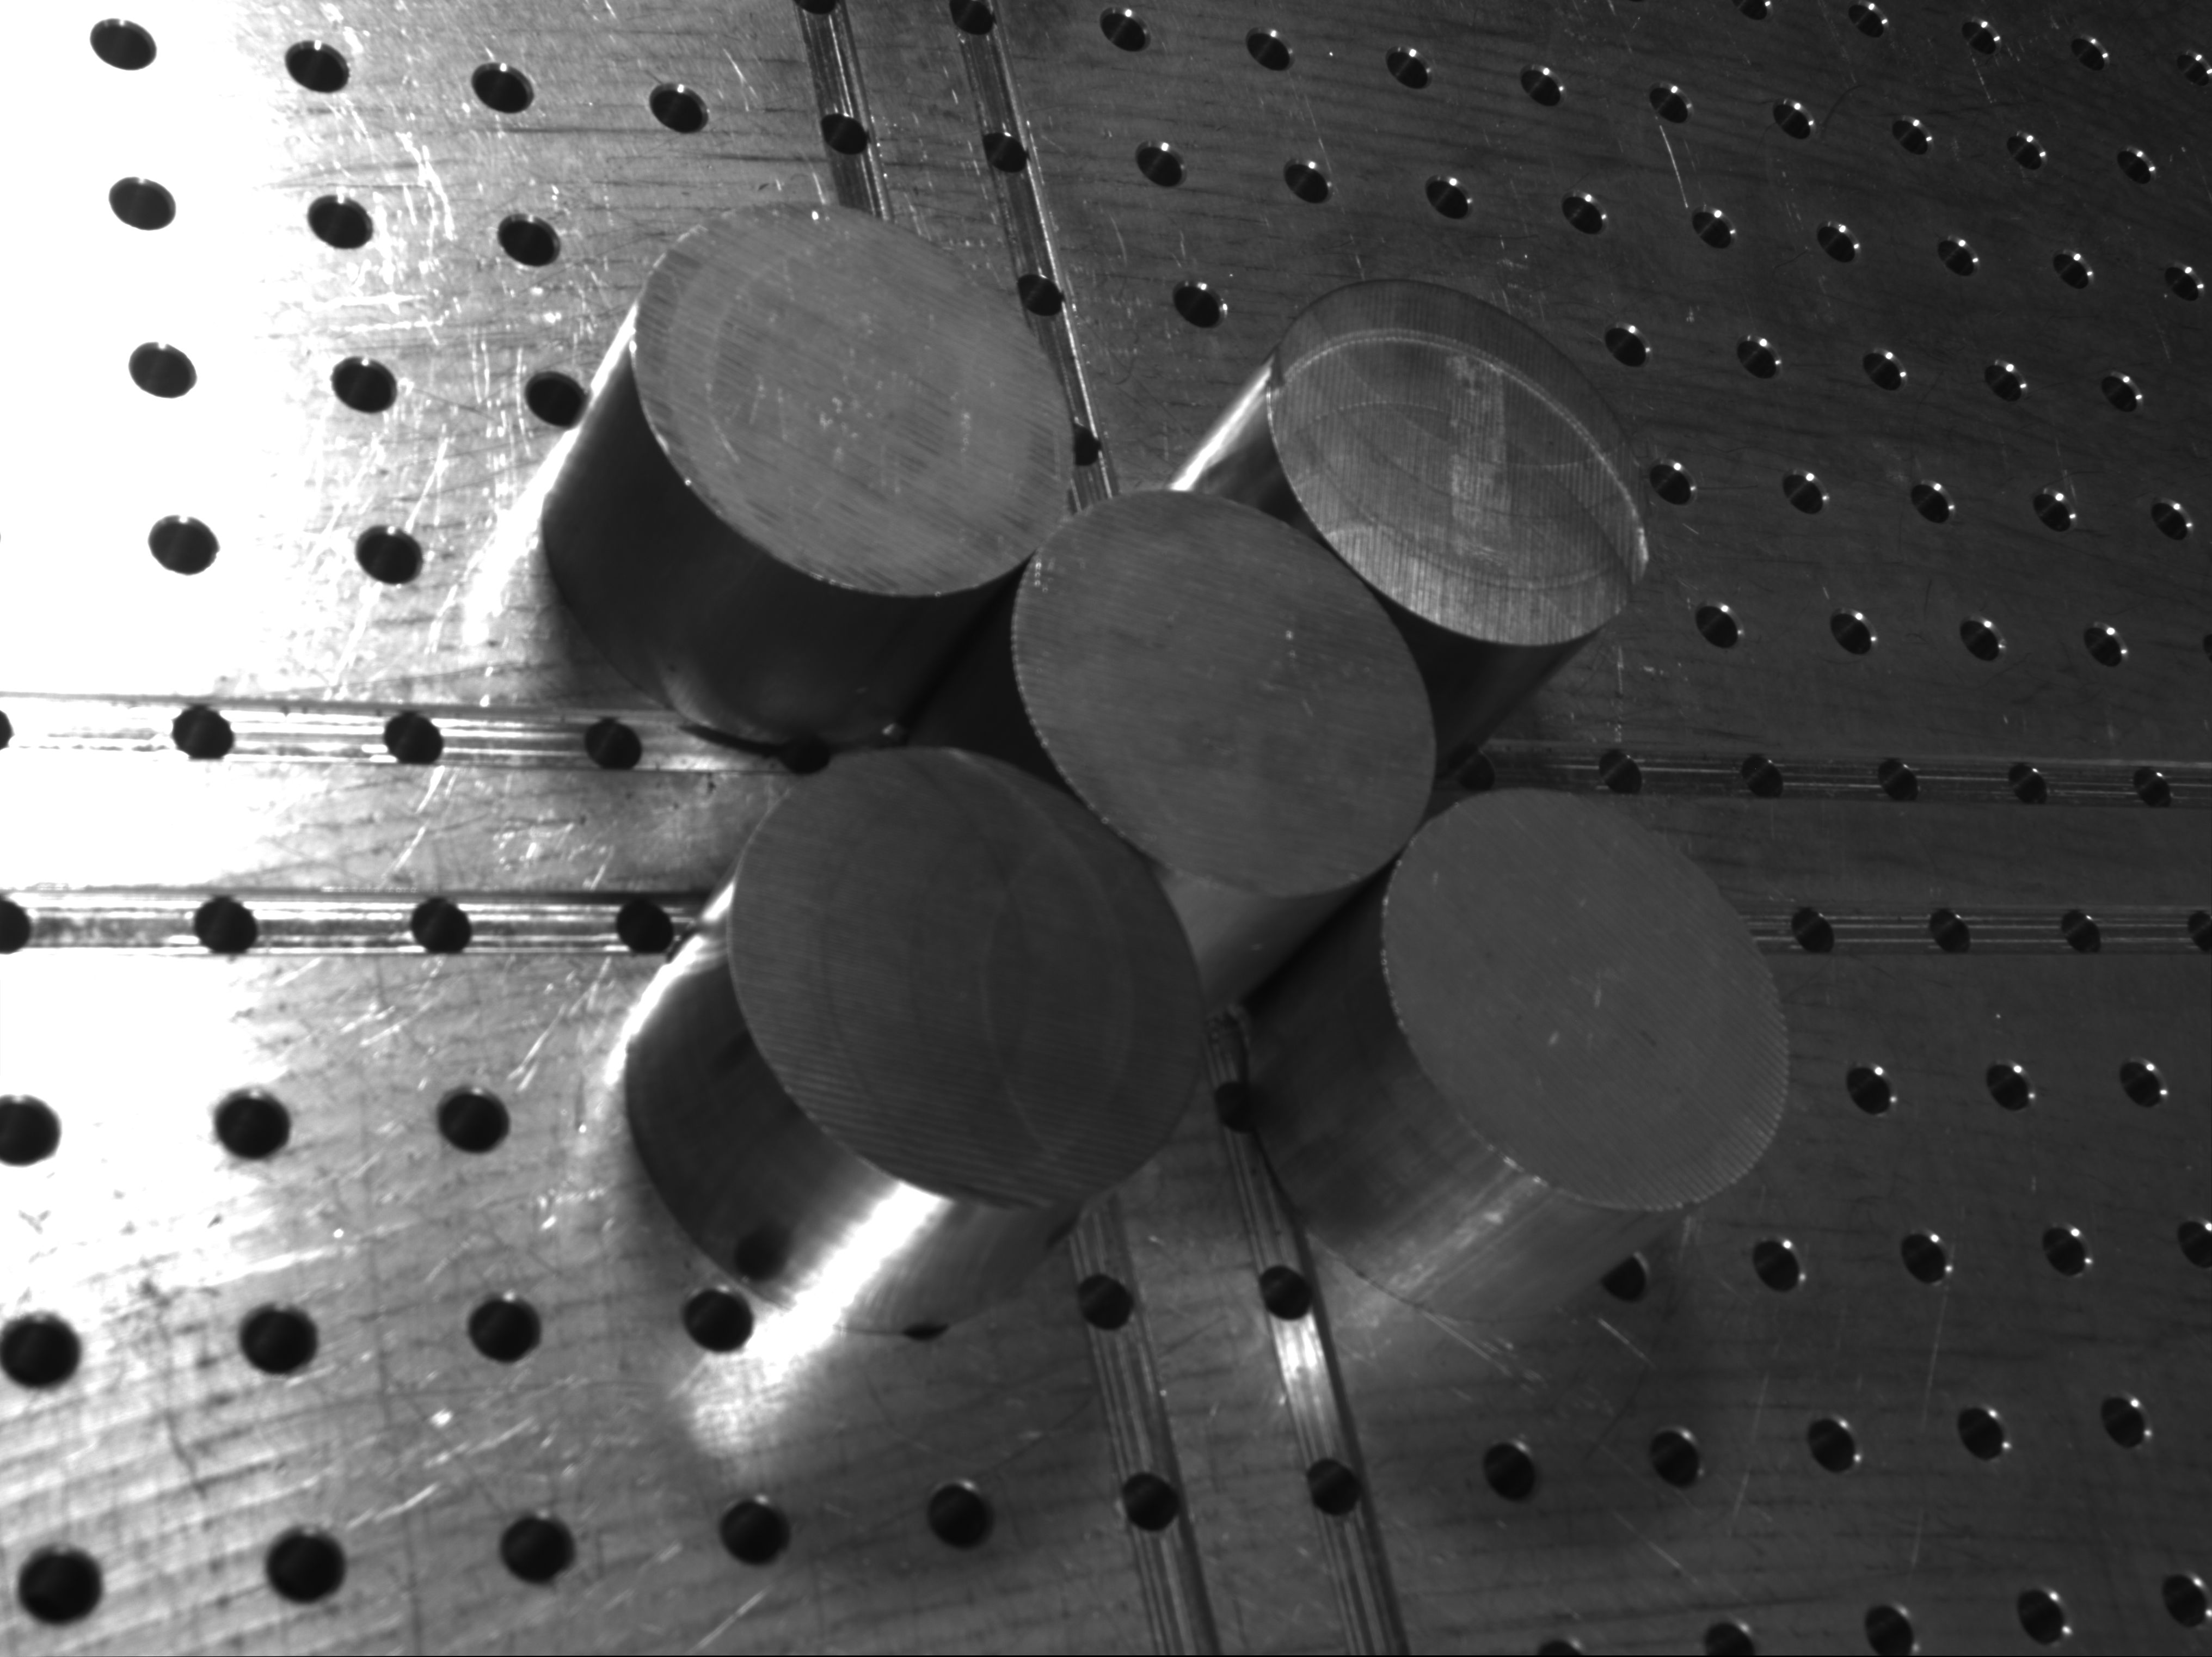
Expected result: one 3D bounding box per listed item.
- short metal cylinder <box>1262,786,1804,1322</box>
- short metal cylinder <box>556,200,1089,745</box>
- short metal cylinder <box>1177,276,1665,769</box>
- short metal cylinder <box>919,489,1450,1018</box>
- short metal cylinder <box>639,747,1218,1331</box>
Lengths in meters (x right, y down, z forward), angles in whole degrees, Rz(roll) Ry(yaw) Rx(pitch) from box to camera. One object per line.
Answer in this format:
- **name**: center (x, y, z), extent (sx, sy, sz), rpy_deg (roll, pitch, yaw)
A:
- **short metal cylinder**: center (0.074, 0.040, 0.642), extent (0.080, 0.050, 0.080), rpy_deg (14, 56, -21)
- **short metal cylinder**: center (-0.050, -0.062, 0.637), extent (0.080, 0.050, 0.080), rpy_deg (14, 56, -21)
- **short metal cylinder**: center (0.058, -0.056, 0.690), extent (0.080, 0.050, 0.080), rpy_deg (14, 56, -21)
- **short metal cylinder**: center (0.013, -0.012, 0.640), extent (0.080, 0.050, 0.080), rpy_deg (14, 56, -21)
- **short metal cylinder**: center (-0.029, 0.034, 0.589), extent (0.080, 0.050, 0.080), rpy_deg (14, 56, -21)
